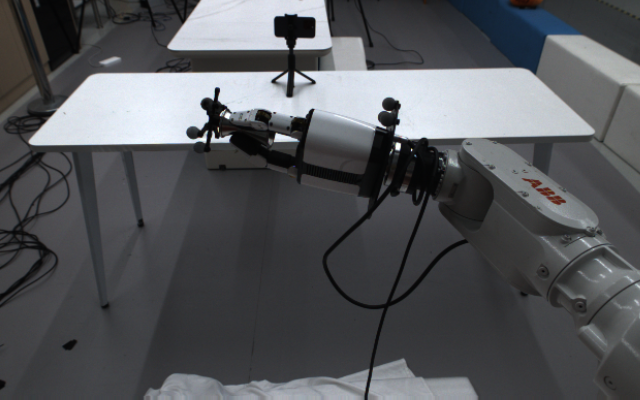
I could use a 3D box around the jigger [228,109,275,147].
[{"bbox_3d":[-0.090,-0.103,0.656,0.071,0.043,0.043,13,36,4],"label":"jigger"}]
